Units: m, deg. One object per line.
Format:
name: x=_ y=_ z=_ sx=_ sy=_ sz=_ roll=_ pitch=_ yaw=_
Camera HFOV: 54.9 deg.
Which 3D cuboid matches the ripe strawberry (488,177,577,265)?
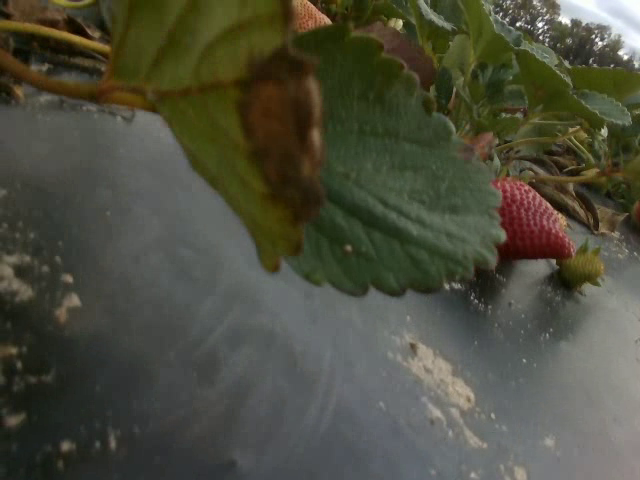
ripe strawberry: x=0.080 y=-0.007 z=0.252 sx=0.050 sy=0.034 sz=0.059 roll=9 pitch=19 yaw=-43
